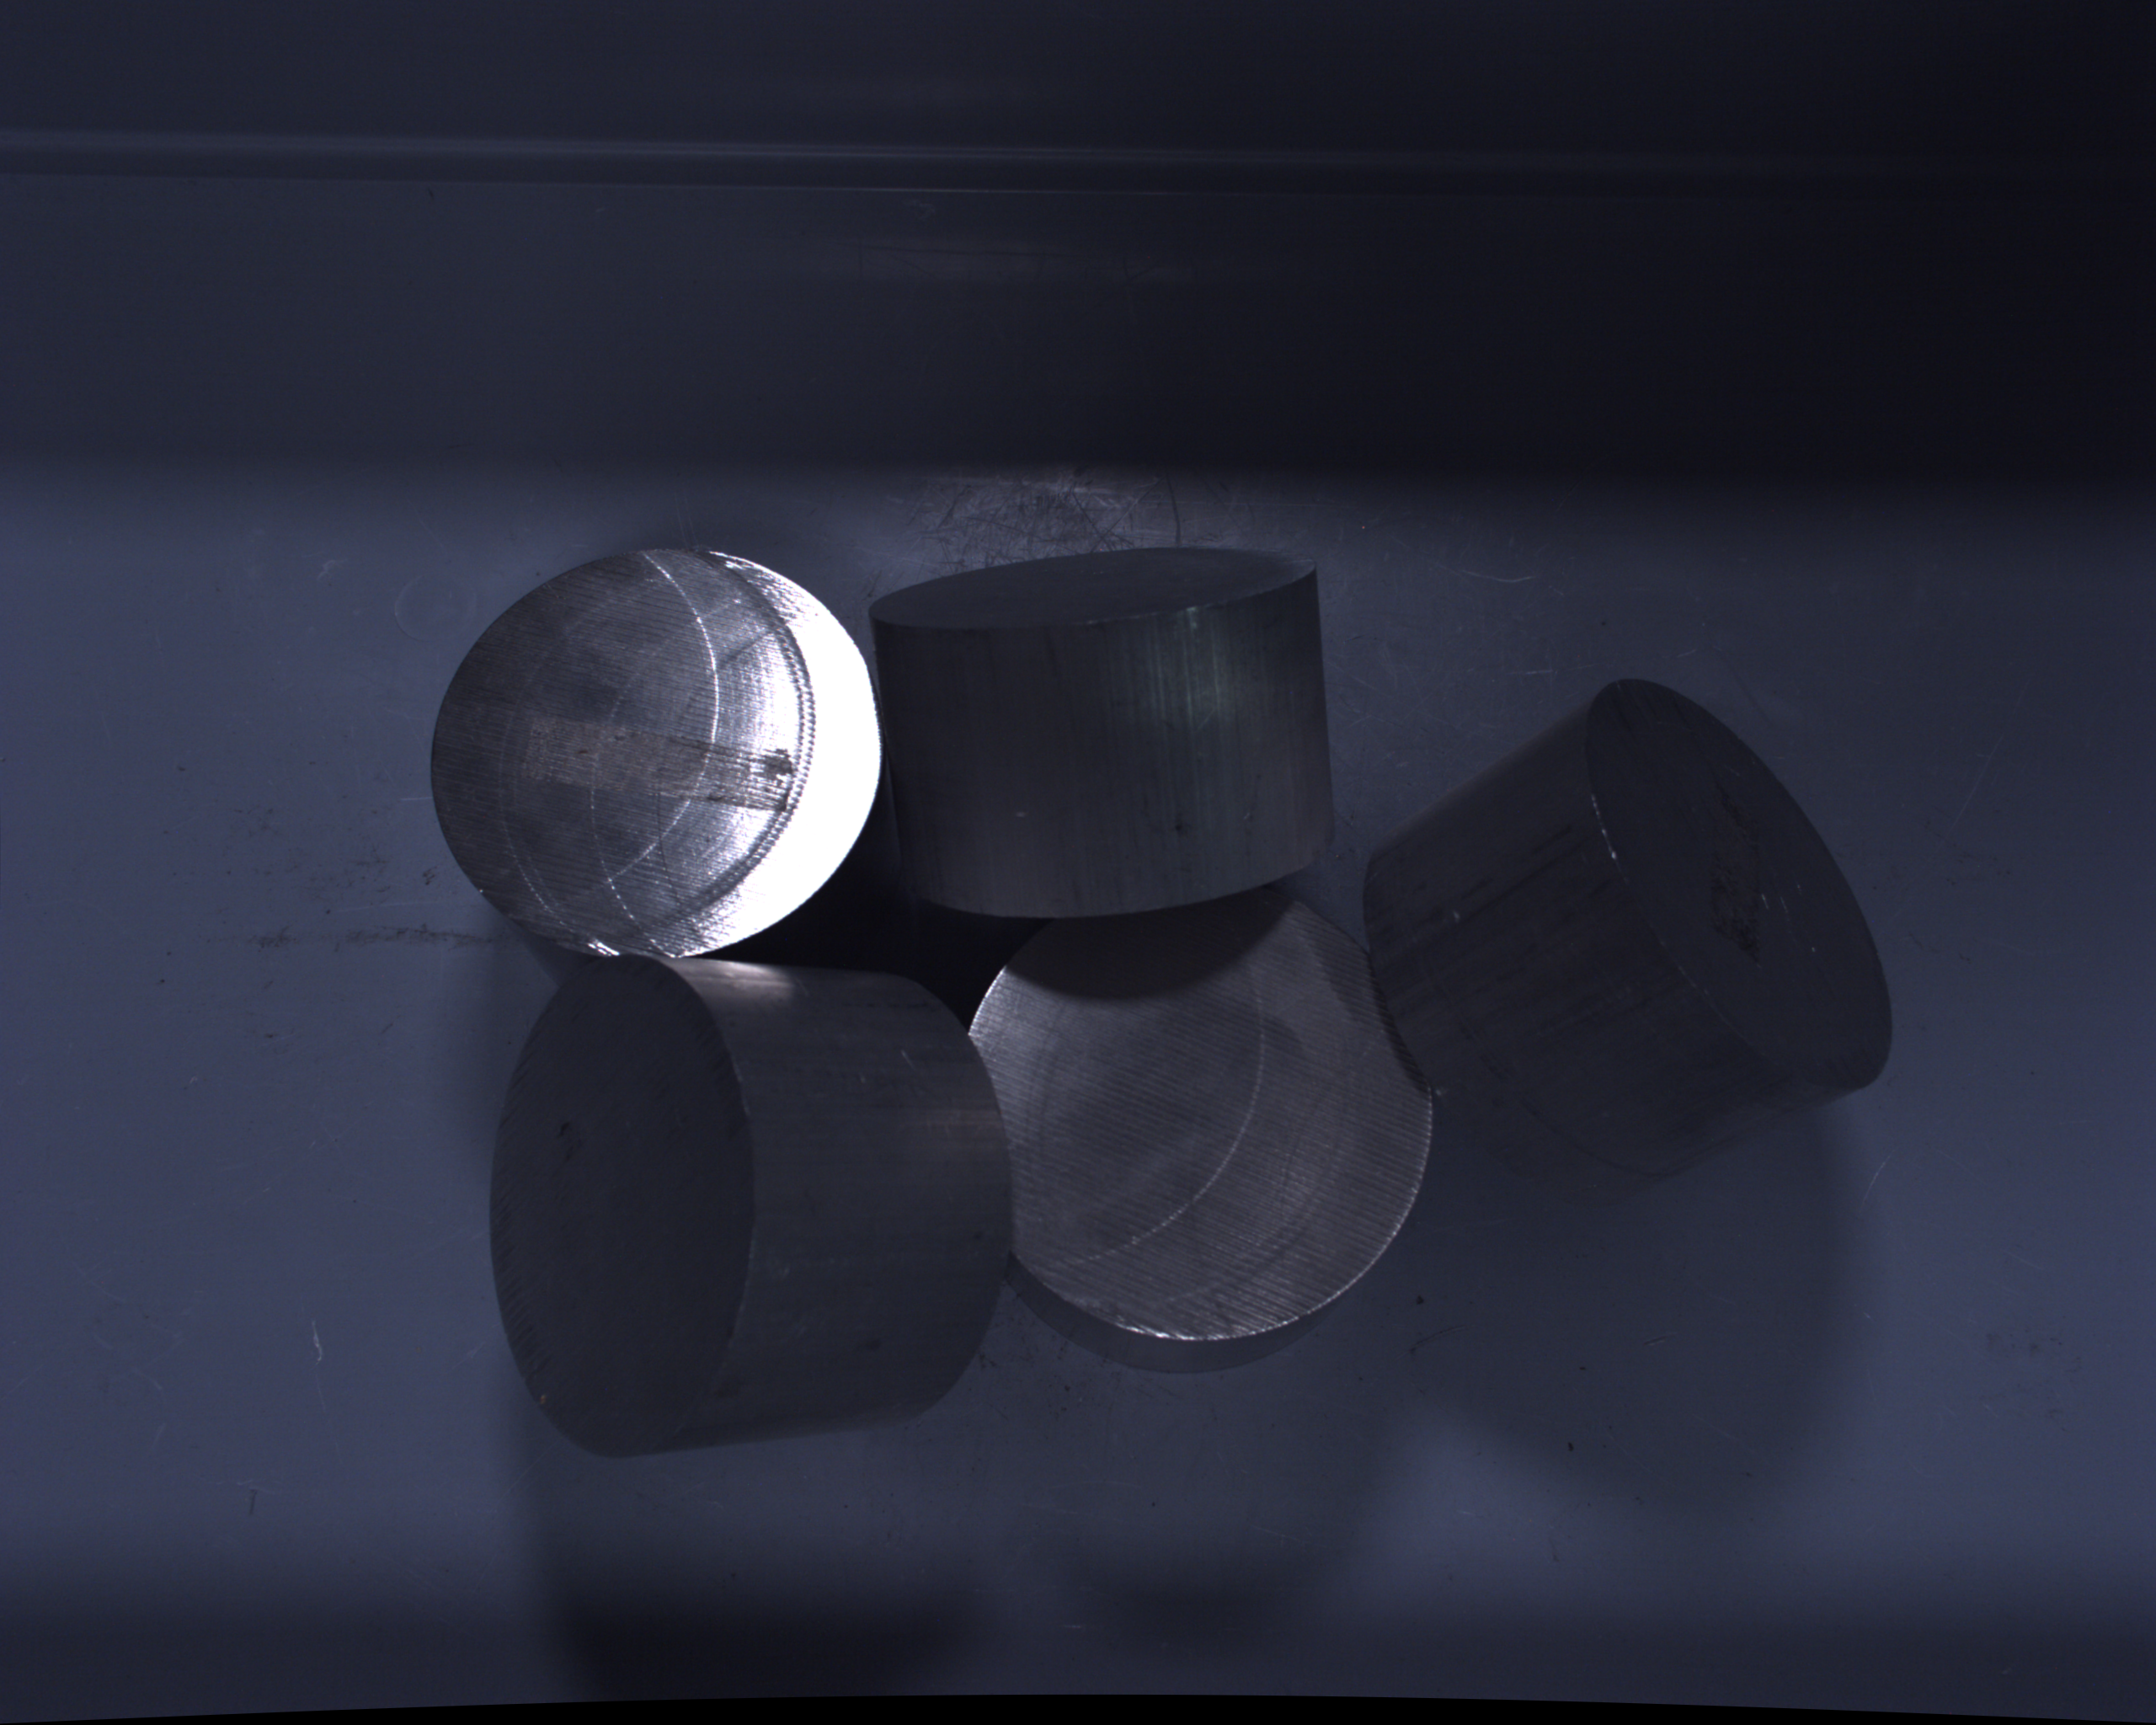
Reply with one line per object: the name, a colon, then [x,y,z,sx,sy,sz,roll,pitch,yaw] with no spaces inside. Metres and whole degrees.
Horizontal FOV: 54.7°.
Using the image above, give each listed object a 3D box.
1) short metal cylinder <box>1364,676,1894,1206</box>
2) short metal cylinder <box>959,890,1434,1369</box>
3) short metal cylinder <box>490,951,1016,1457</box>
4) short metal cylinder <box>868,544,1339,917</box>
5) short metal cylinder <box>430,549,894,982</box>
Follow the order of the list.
short metal cylinder: [0.097,0.014,0.369,0.080,0.050,0.080,27,44,-30]
short metal cylinder: [0.020,0.049,0.377,0.081,0.050,0.080,0,70,0]
short metal cylinder: [-0.056,0.056,0.351,0.050,0.080,0.080,7,63,-43]
short metal cylinder: [0.005,-0.026,0.381,0.081,0.080,0.050,-8,106,-3]
short metal cylinder: [-0.076,-0.012,0.397,0.081,0.050,0.080,0,70,0]
